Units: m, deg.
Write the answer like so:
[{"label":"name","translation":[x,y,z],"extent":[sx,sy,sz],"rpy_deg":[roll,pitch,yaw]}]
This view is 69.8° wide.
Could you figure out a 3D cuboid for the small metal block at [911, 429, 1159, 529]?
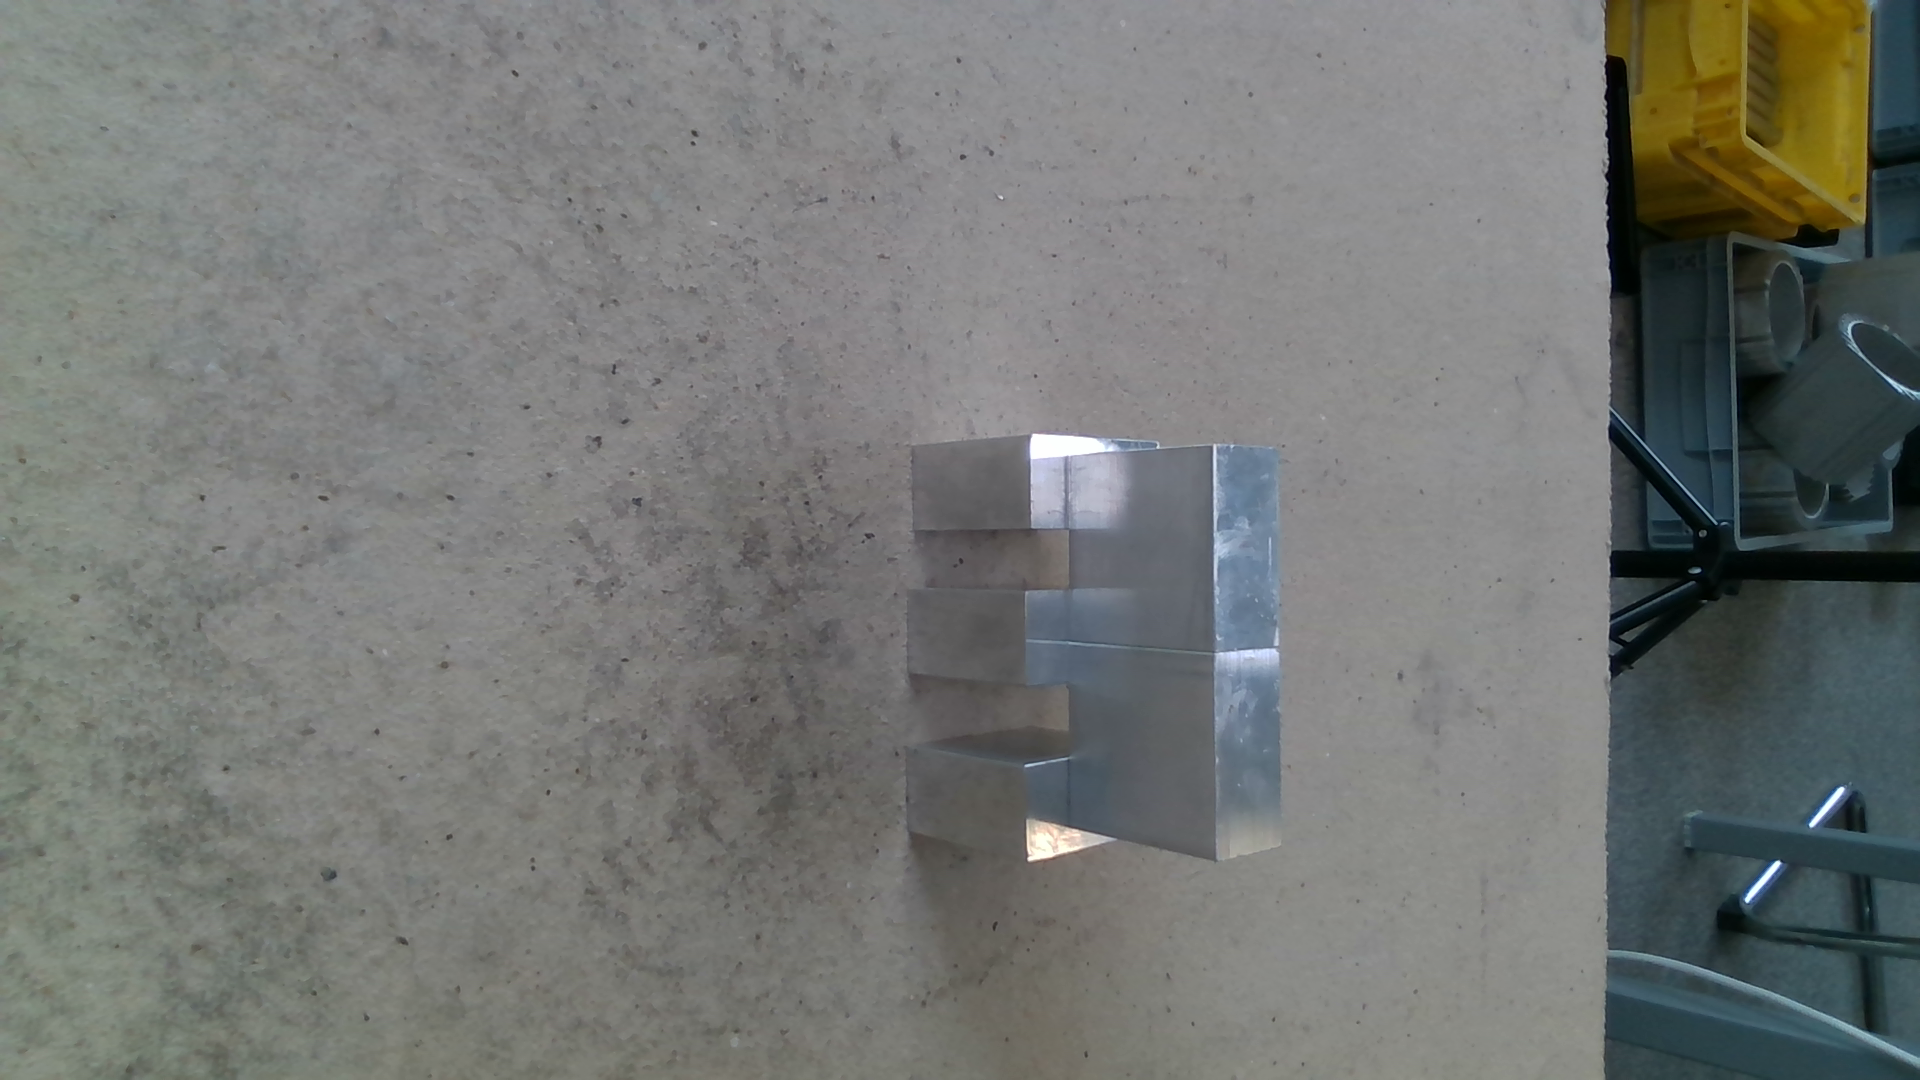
[{"label":"small metal block","translation":[0.021,-0.016,0.392],"extent":[0.050,0.050,0.025],"rpy_deg":[-1,90,-41]}]

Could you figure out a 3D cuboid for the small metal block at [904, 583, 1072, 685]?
[{"label":"small metal block","translation":[0.019,0.025,0.392],"extent":[0.050,0.050,0.025],"rpy_deg":[-2,90,-41]}]

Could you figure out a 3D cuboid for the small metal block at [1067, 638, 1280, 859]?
[{"label":"small metal block","translation":[0.054,0.051,0.356],"extent":[0.025,0.050,0.050],"rpy_deg":[-1,91,-40]}]

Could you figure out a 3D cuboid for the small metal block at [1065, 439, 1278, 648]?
[{"label":"small metal block","translation":[0.054,0.001,0.356],"extent":[0.025,0.050,0.050],"rpy_deg":[-1,91,-40]}]

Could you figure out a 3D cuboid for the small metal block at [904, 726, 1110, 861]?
[{"label":"small metal block","translation":[0.020,0.070,0.392],"extent":[0.050,0.050,0.025],"rpy_deg":[-2,90,-41]}]
